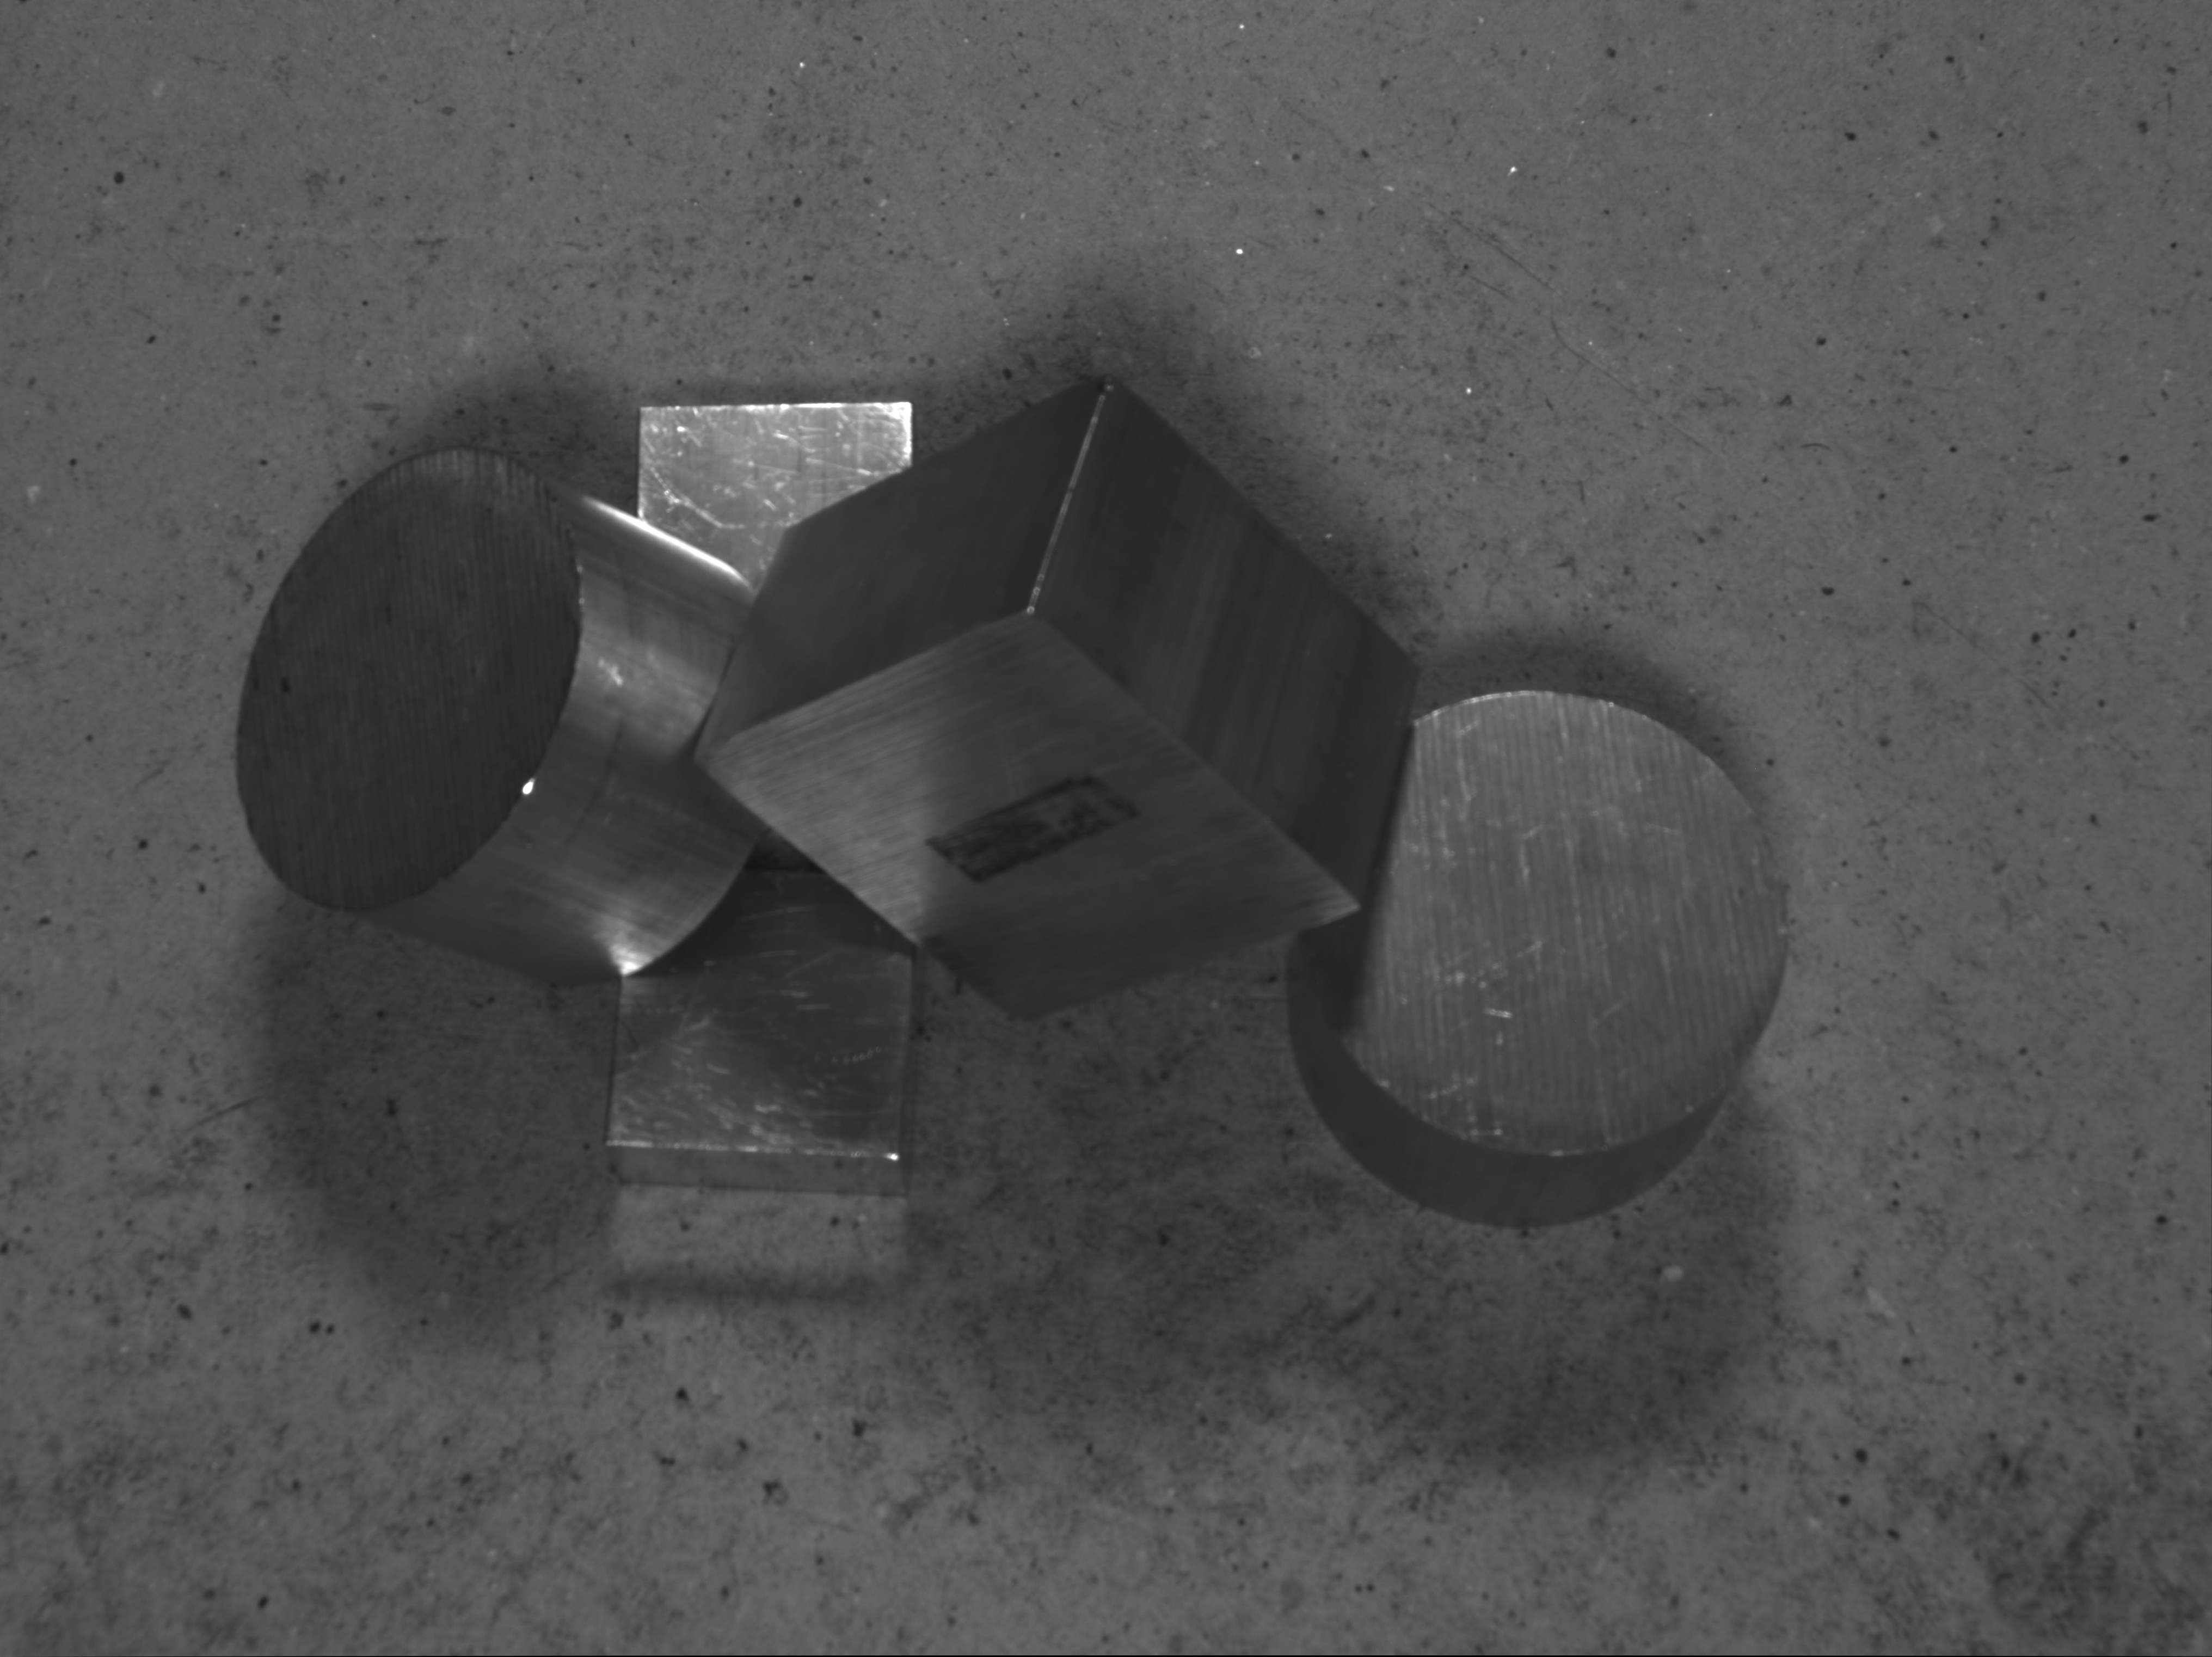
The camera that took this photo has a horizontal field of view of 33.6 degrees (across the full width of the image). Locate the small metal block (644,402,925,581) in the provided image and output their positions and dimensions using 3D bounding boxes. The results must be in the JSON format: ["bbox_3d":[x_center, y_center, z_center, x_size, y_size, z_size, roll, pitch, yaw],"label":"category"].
[{"bbox_3d":[-0.057,-0.049,0.662,0.050,0.025,0.050,-1,70,0],"label":"small metal block"}]

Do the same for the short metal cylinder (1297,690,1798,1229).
[{"bbox_3d":[0.073,0.023,0.623,0.080,0.050,0.080,0,70,0],"label":"short metal cylinder"}]

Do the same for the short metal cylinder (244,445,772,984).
[{"bbox_3d":[-0.099,-0.018,0.619,0.080,0.050,0.080,-13,66,34],"label":"short metal cylinder"}]

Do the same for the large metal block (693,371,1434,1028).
[{"bbox_3d":[-0.006,-0.018,0.603,0.080,0.080,0.050,41,48,-29],"label":"large metal block"}]

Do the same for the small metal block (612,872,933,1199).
[{"bbox_3d":[-0.056,0.035,0.632,0.050,0.025,0.050,3,70,1],"label":"small metal block"}]
